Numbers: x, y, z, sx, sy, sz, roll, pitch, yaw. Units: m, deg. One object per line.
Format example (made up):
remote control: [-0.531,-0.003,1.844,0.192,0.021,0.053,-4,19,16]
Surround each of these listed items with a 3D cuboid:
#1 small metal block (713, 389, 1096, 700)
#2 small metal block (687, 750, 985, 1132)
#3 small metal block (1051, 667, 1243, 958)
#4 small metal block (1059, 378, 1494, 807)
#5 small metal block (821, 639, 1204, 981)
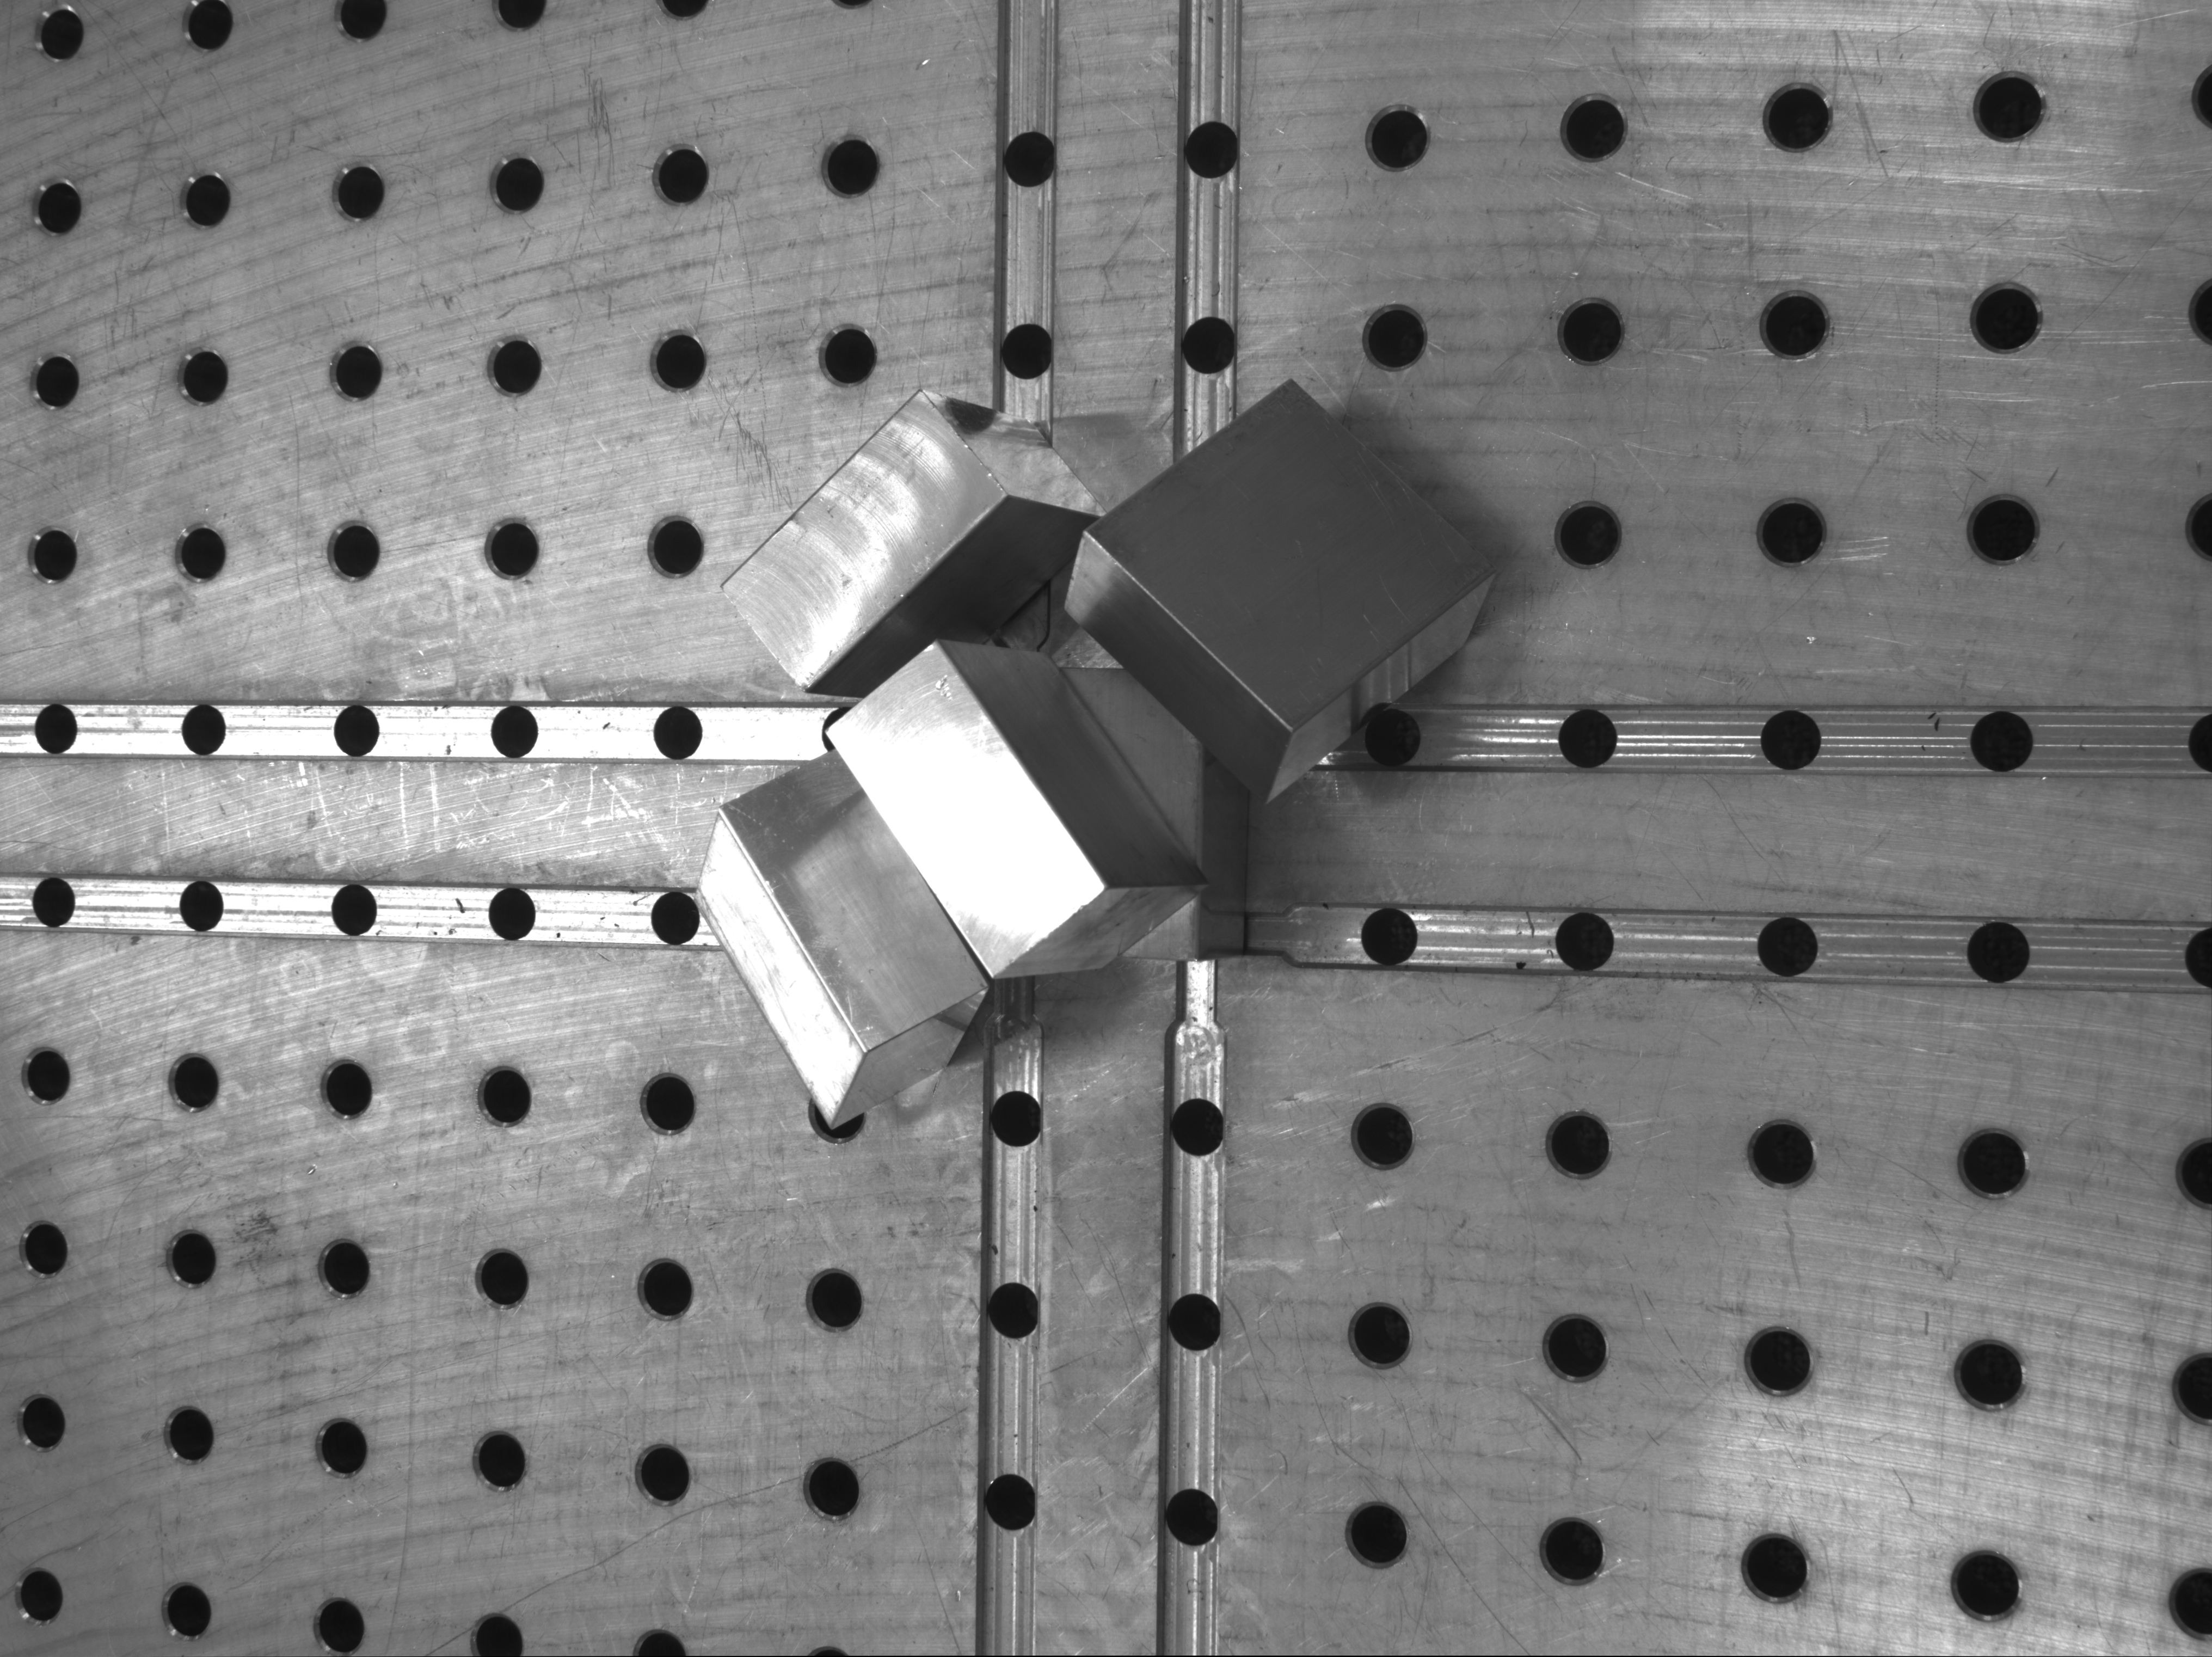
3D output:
small metal block: [-0.034,-0.048,0.649,0.050,0.050,0.025,-43,76,15]
small metal block: [-0.049,0.020,0.651,0.025,0.050,0.050,-28,78,-20]
small metal block: [-0.003,-0.003,0.650,0.050,0.025,0.050,1,90,19]
small metal block: [0.029,-0.041,0.625,0.050,0.025,0.050,-38,74,-25]
small metal block: [-0.015,-0.003,0.615,0.025,0.050,0.050,-38,78,15]
